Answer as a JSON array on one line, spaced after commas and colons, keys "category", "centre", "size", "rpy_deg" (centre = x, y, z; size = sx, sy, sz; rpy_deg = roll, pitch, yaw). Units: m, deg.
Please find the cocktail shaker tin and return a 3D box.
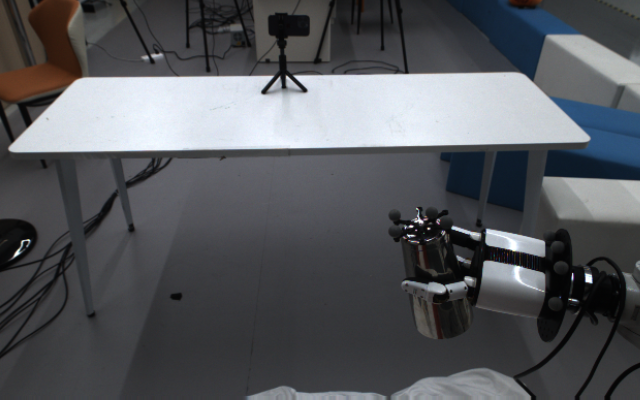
[{"category": "cocktail shaker tin", "centre": [0.168, 0.110, 0.714], "size": [0.093, 0.170, 0.093], "rpy_deg": [-15, 28, 8]}]
